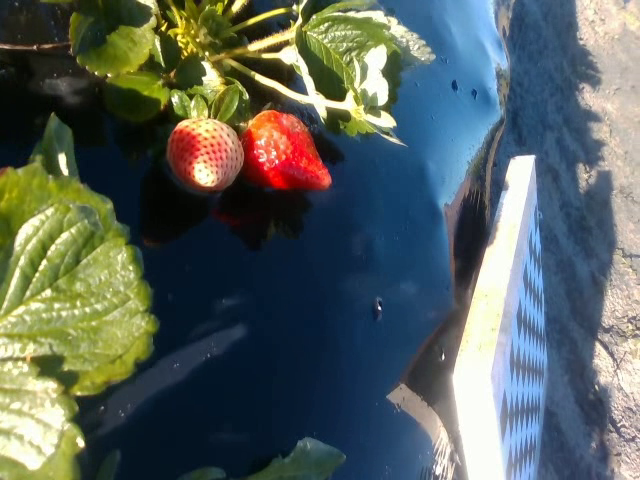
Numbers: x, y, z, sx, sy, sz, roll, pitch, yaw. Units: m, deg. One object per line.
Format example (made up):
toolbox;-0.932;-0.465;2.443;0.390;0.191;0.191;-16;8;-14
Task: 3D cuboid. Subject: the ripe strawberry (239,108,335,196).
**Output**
ripe strawberry;-0.009;-0.037;0.268;0.055;0.040;0.038;28;-25;38
